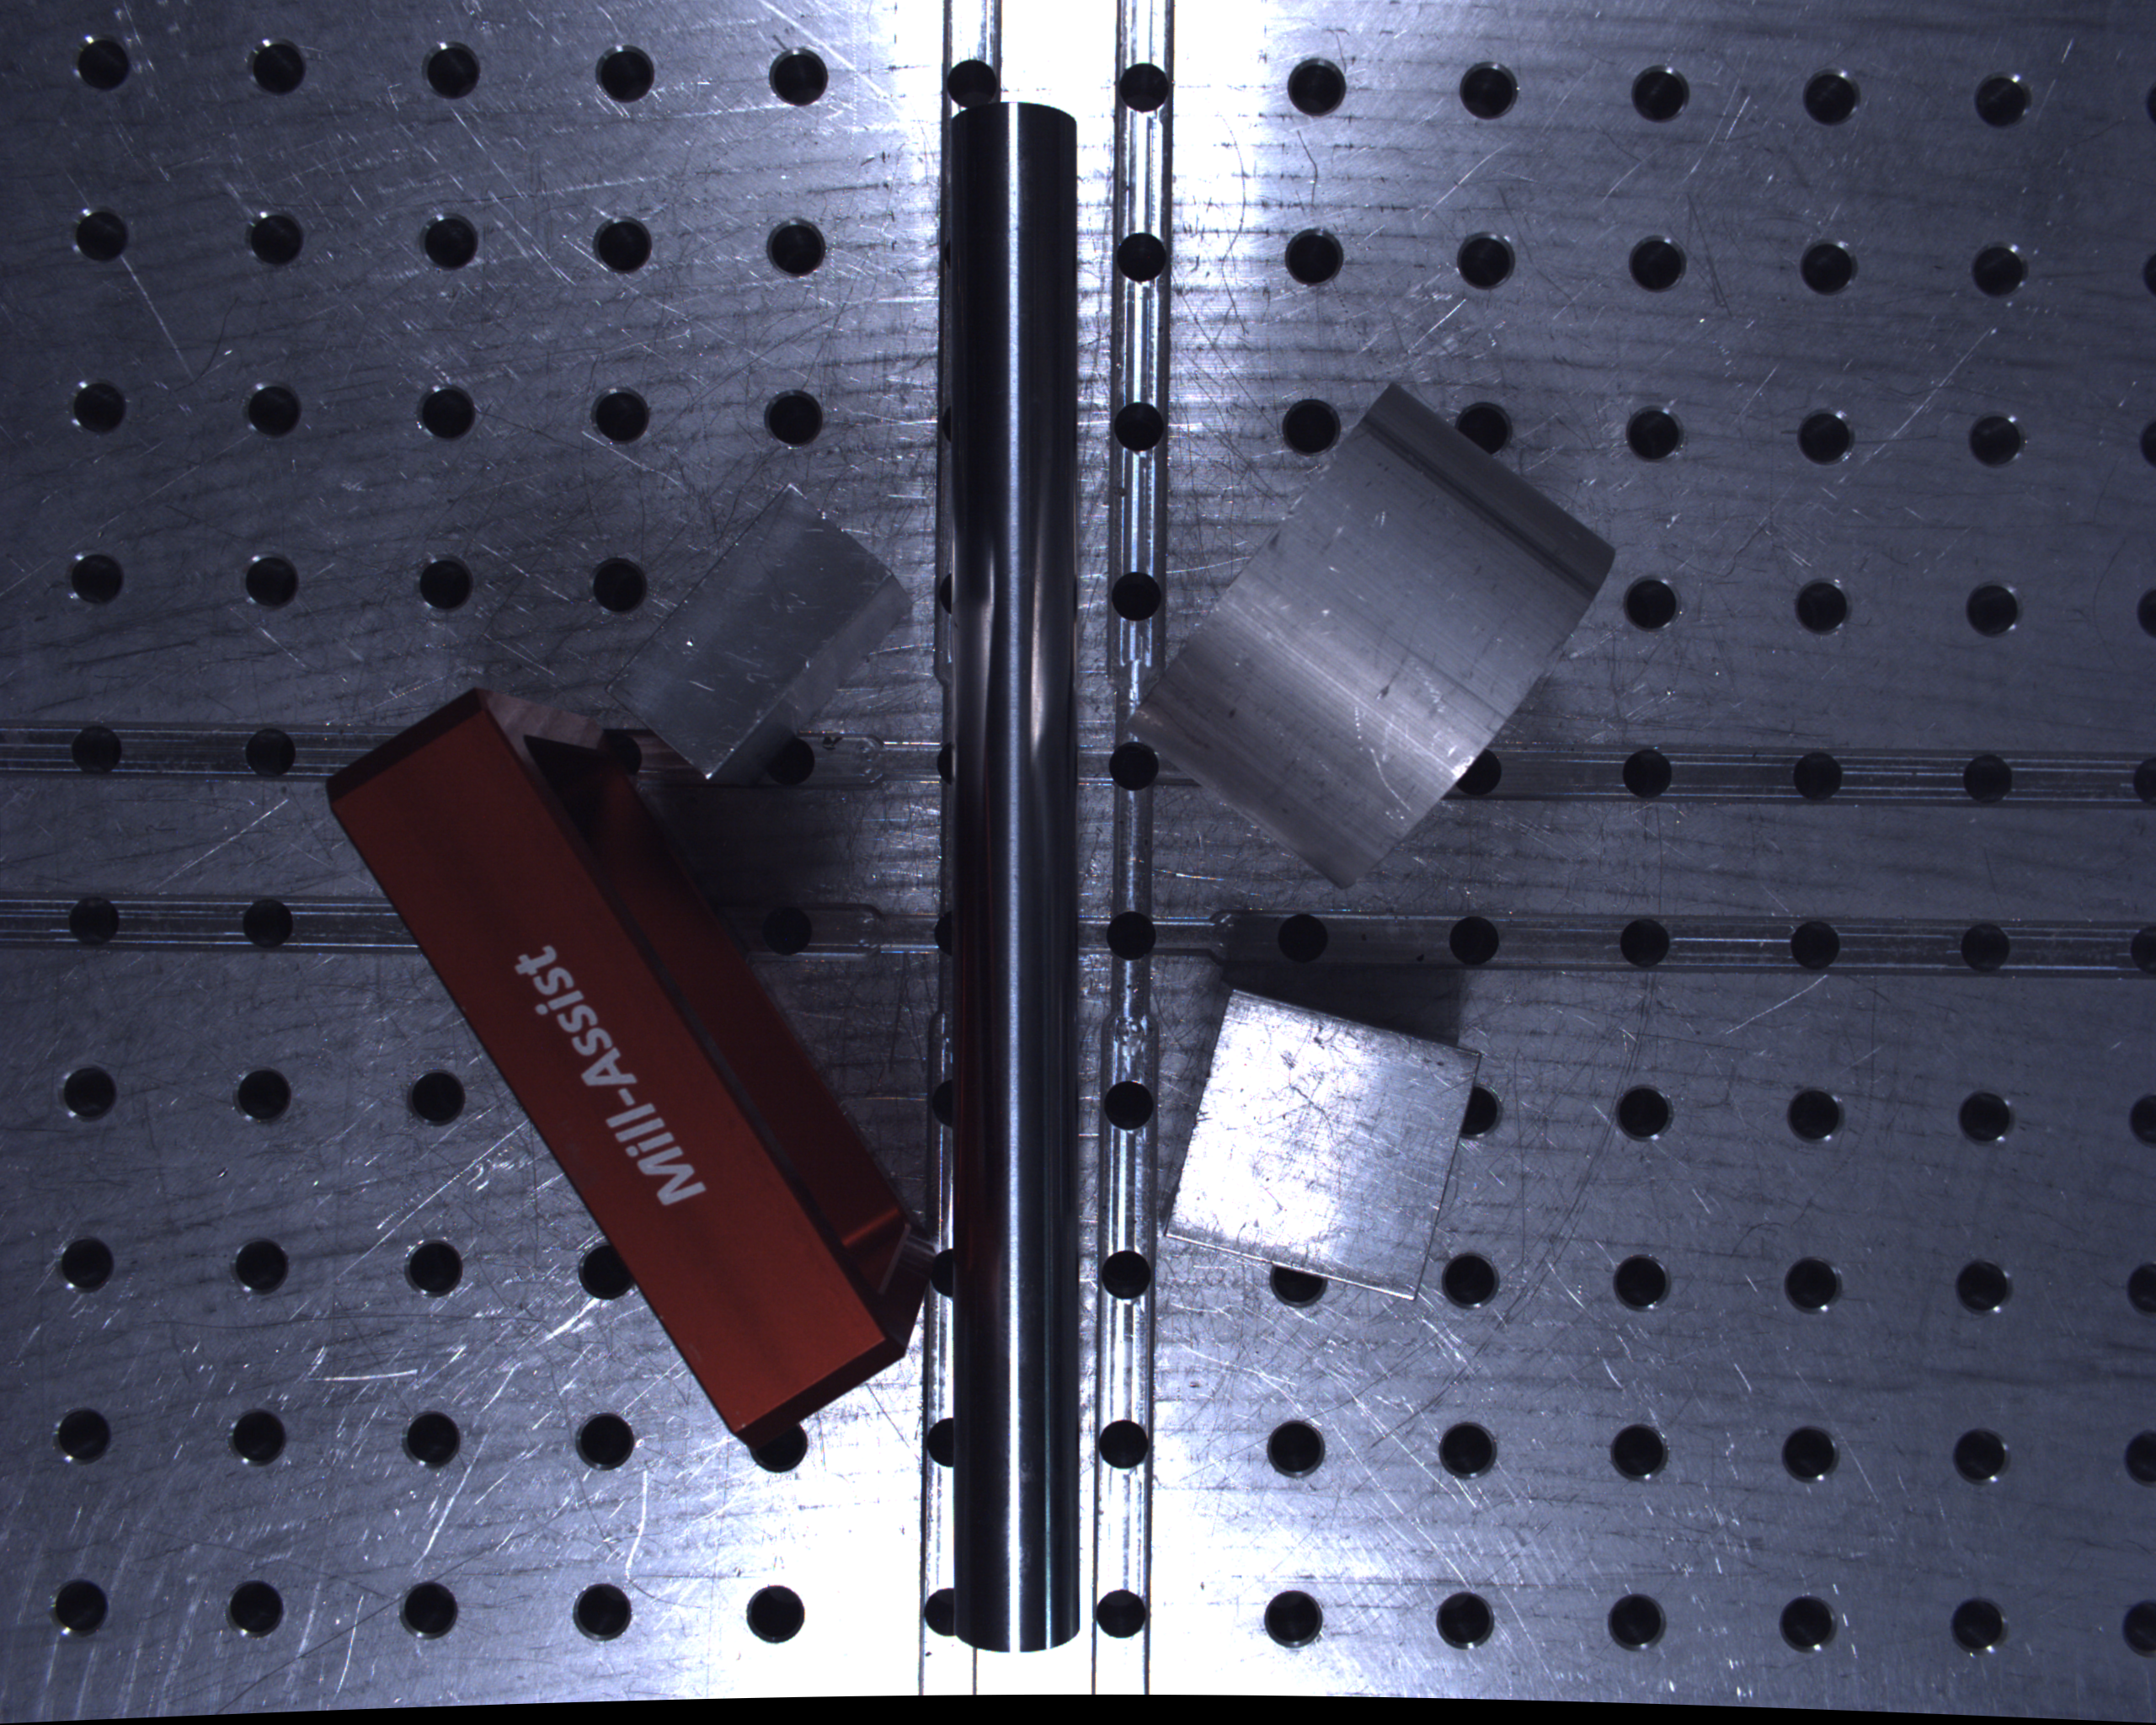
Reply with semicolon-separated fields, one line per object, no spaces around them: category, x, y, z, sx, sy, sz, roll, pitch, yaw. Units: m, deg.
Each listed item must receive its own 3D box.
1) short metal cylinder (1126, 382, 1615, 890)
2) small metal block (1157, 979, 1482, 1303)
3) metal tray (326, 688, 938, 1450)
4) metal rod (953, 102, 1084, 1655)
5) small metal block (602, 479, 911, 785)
short metal cylinder;0.053;-0.041;0.386;0.050;0.080;0.080;38;90;-1
small metal block;0.047;0.054;0.415;0.050;0.025;0.050;15;90;-1
metal tray;-0.075;0.033;0.379;0.030;0.090;0.130;-33;90;0
metal rod;-0.012;0.003;0.413;0.025;0.025;0.298;0;90;-1
small metal block;-0.059;-0.042;0.399;0.025;0.050;0.050;41;90;-1
